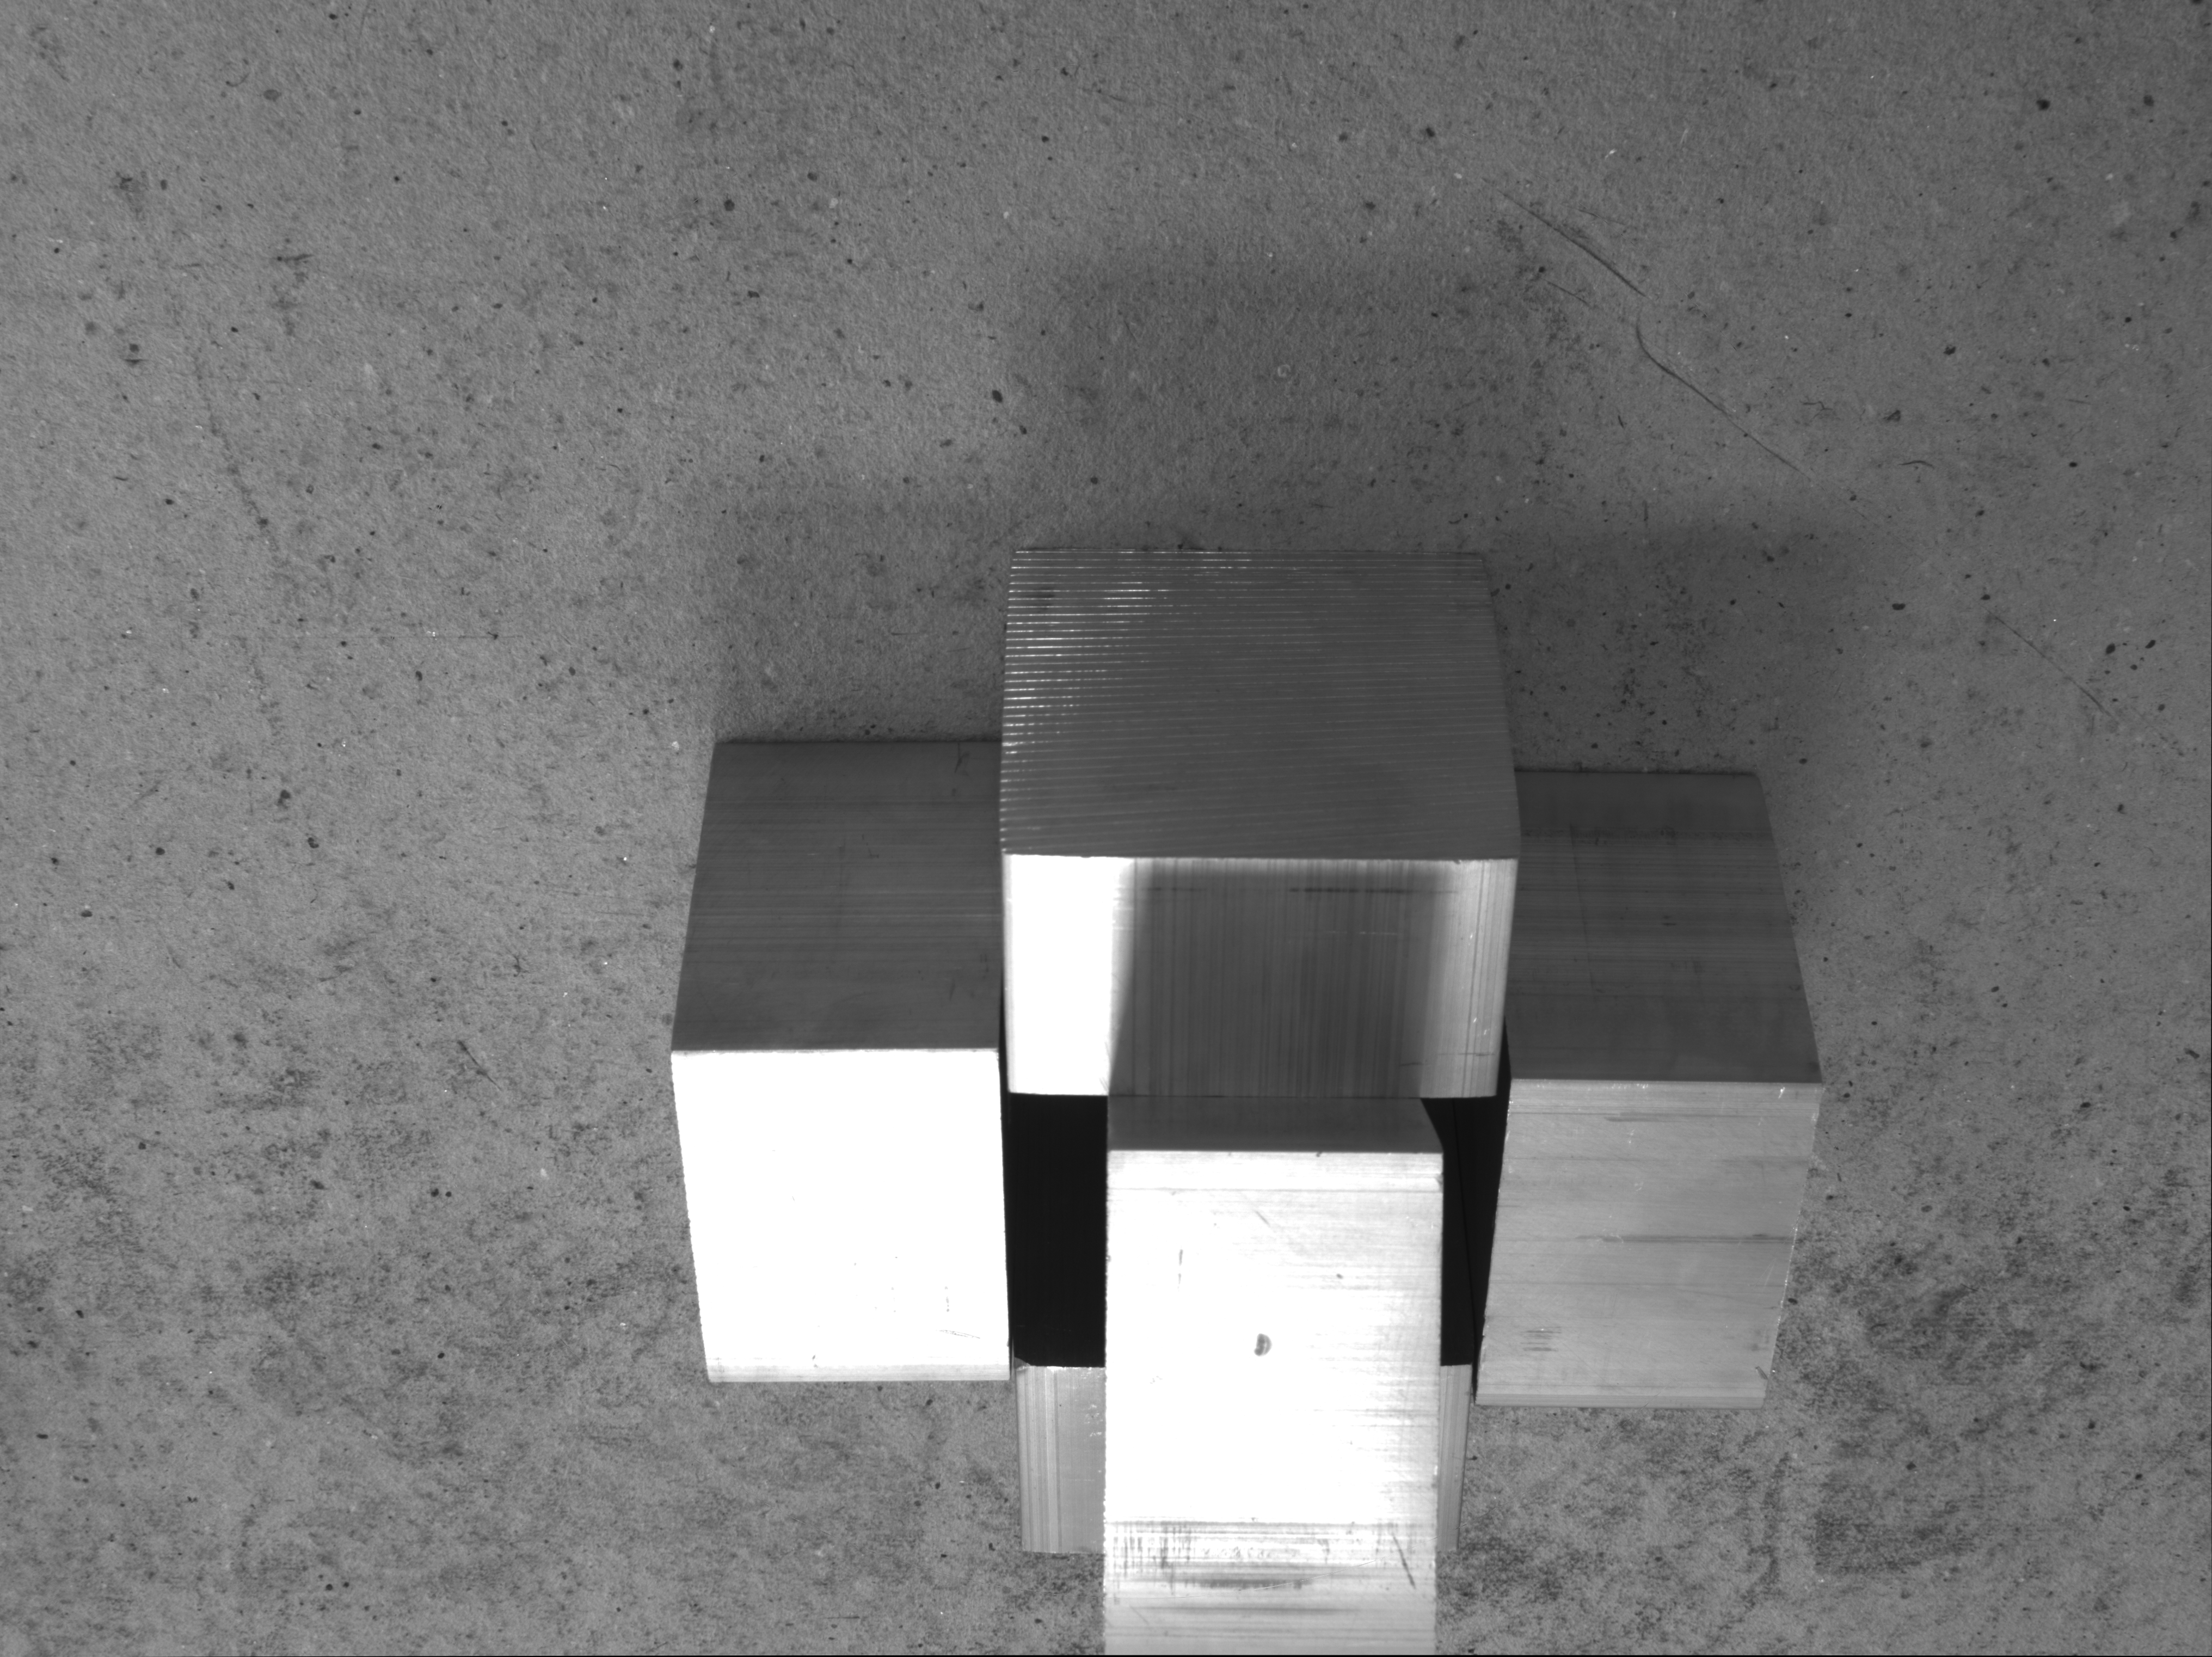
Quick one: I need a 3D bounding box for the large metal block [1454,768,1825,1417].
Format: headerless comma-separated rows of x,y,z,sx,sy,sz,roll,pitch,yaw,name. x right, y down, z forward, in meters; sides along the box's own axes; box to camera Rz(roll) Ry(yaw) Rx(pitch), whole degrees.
0.089,0.046,0.642,0.050,0.080,0.080,1,130,-1,large metal block

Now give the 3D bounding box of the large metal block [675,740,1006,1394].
-0.043,0.041,0.636,0.050,0.080,0.080,0,130,0,large metal block

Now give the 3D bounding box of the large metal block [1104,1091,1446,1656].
0.025,0.083,0.588,0.050,0.080,0.080,1,96,0,large metal block

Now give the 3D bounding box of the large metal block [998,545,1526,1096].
0.024,-0.002,0.602,0.080,0.080,0.050,1,130,0,large metal block

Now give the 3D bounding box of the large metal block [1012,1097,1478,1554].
0.024,0.086,0.676,0.080,0.080,0.050,0,130,0,large metal block
